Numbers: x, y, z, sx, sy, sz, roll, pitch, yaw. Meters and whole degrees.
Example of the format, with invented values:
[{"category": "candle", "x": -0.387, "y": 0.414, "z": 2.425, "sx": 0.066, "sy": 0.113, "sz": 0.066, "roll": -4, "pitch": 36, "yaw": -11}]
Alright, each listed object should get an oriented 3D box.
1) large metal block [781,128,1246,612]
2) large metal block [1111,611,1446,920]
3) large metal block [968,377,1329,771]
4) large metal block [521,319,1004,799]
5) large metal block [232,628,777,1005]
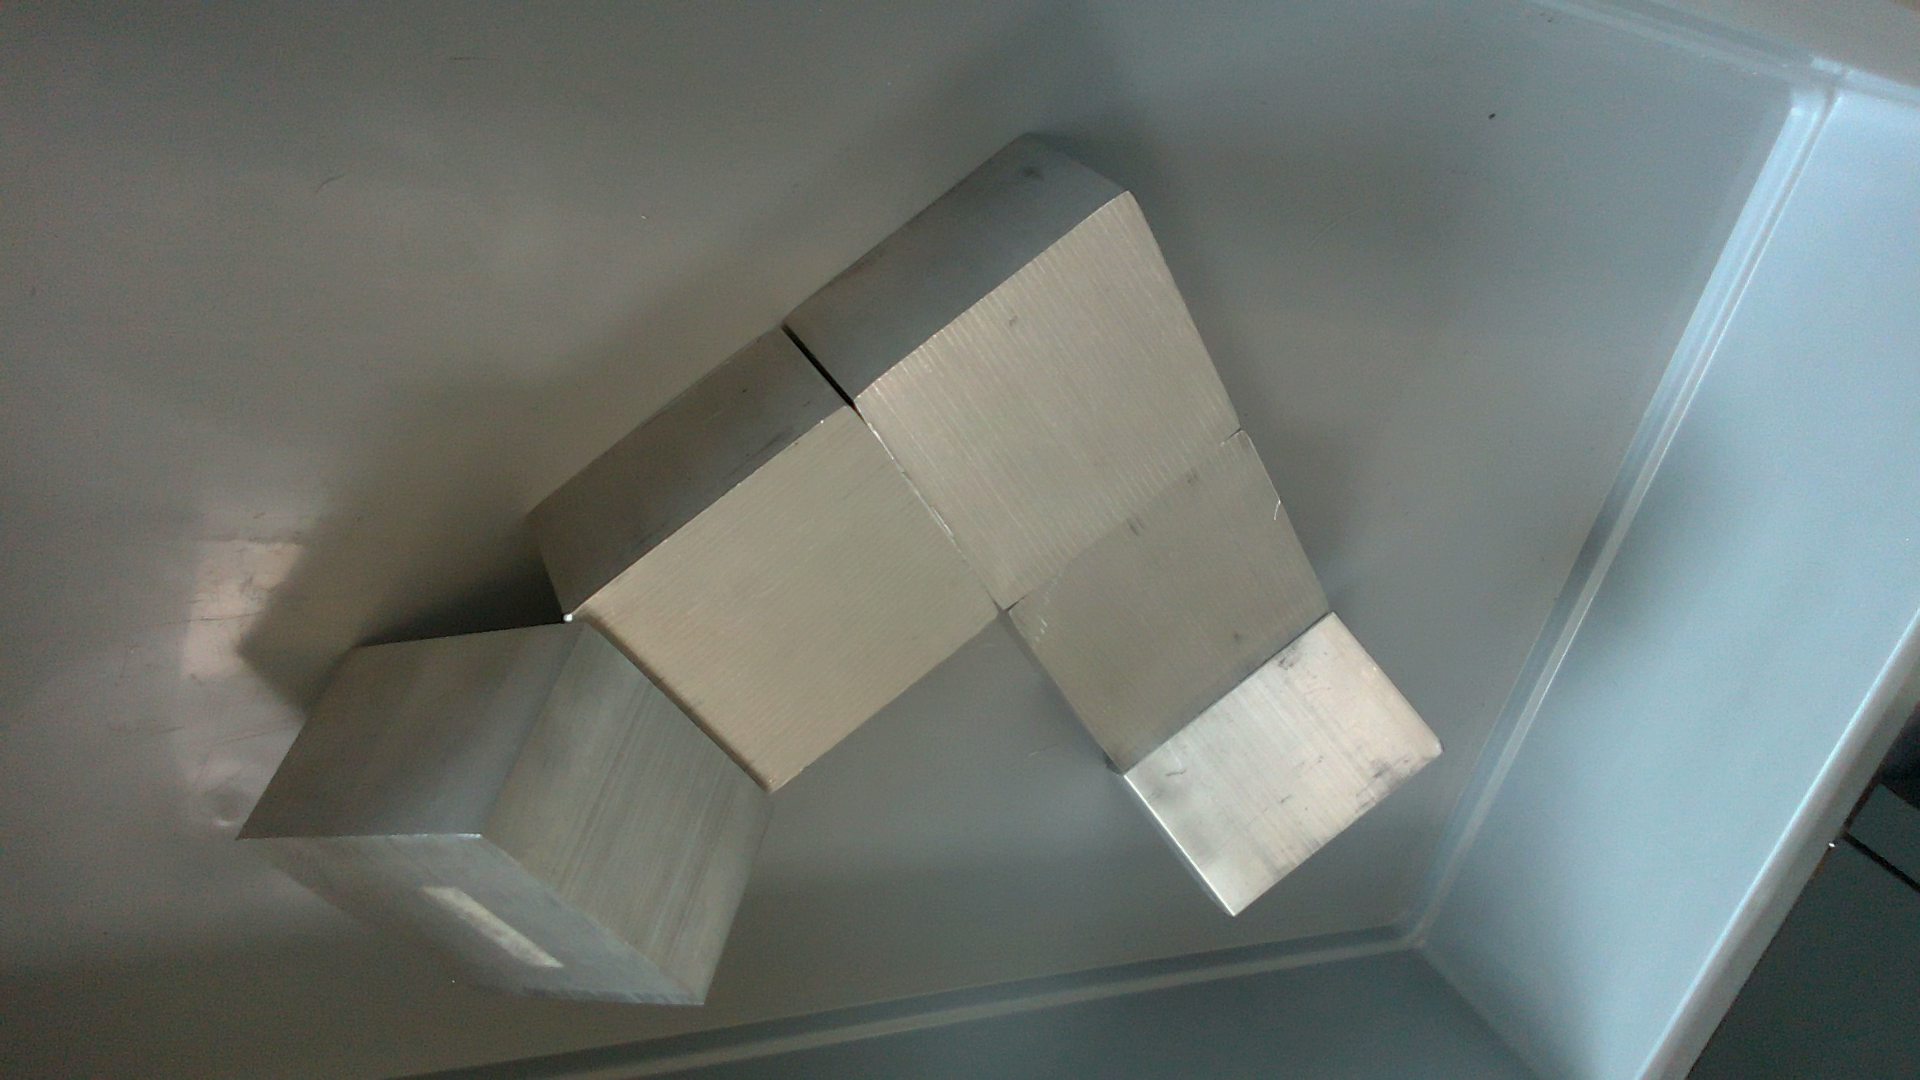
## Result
[{"category": "large metal block", "x": 0.015, "y": -0.043, "z": 0.353, "sx": 0.080, "sy": 0.050, "sz": 0.080, "roll": -38, "pitch": 129, "yaw": -3}, {"category": "large metal block", "x": 0.096, "y": 0.070, "z": 0.439, "sx": 0.080, "sy": 0.050, "sz": 0.080, "roll": -38, "pitch": 172, "yaw": -3}, {"category": "large metal block", "x": 0.051, "y": 0.008, "z": 0.404, "sx": 0.080, "sy": 0.050, "sz": 0.080, "roll": -38, "pitch": 129, "yaw": -3}, {"category": "large metal block", "x": -0.049, "y": 0.006, "z": 0.349, "sx": 0.080, "sy": 0.050, "sz": 0.080, "roll": -38, "pitch": 129, "yaw": -3}, {"category": "large metal block", "x": -0.105, "y": 0.069, "z": 0.329, "sx": 0.080, "sy": 0.050, "sz": 0.080, "roll": -8, "pitch": 136, "yaw": 29}]
